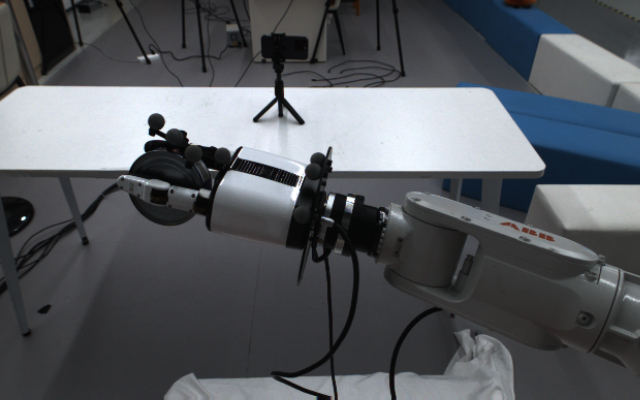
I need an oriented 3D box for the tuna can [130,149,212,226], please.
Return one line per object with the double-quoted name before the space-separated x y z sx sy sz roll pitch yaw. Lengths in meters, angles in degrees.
"tuna can" -0.164 -0.017 0.538 0.085 0.085 0.034 7 17 6
